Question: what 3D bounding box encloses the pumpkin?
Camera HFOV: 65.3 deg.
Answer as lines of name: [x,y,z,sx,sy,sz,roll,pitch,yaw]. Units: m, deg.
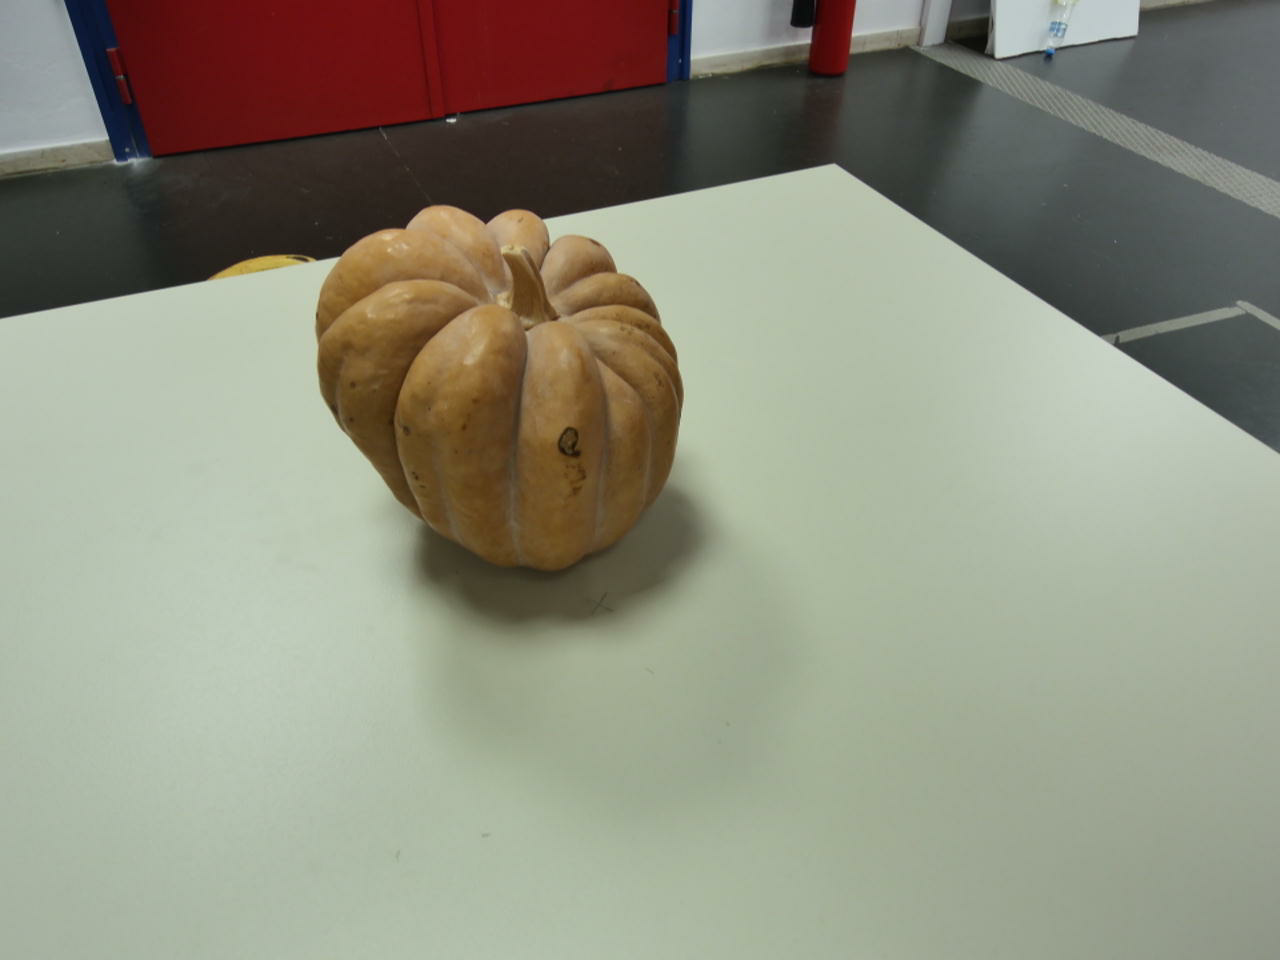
pumpkin: [-0.072,-0.048,0.534,0.199,0.177,0.198,0,38,0]
